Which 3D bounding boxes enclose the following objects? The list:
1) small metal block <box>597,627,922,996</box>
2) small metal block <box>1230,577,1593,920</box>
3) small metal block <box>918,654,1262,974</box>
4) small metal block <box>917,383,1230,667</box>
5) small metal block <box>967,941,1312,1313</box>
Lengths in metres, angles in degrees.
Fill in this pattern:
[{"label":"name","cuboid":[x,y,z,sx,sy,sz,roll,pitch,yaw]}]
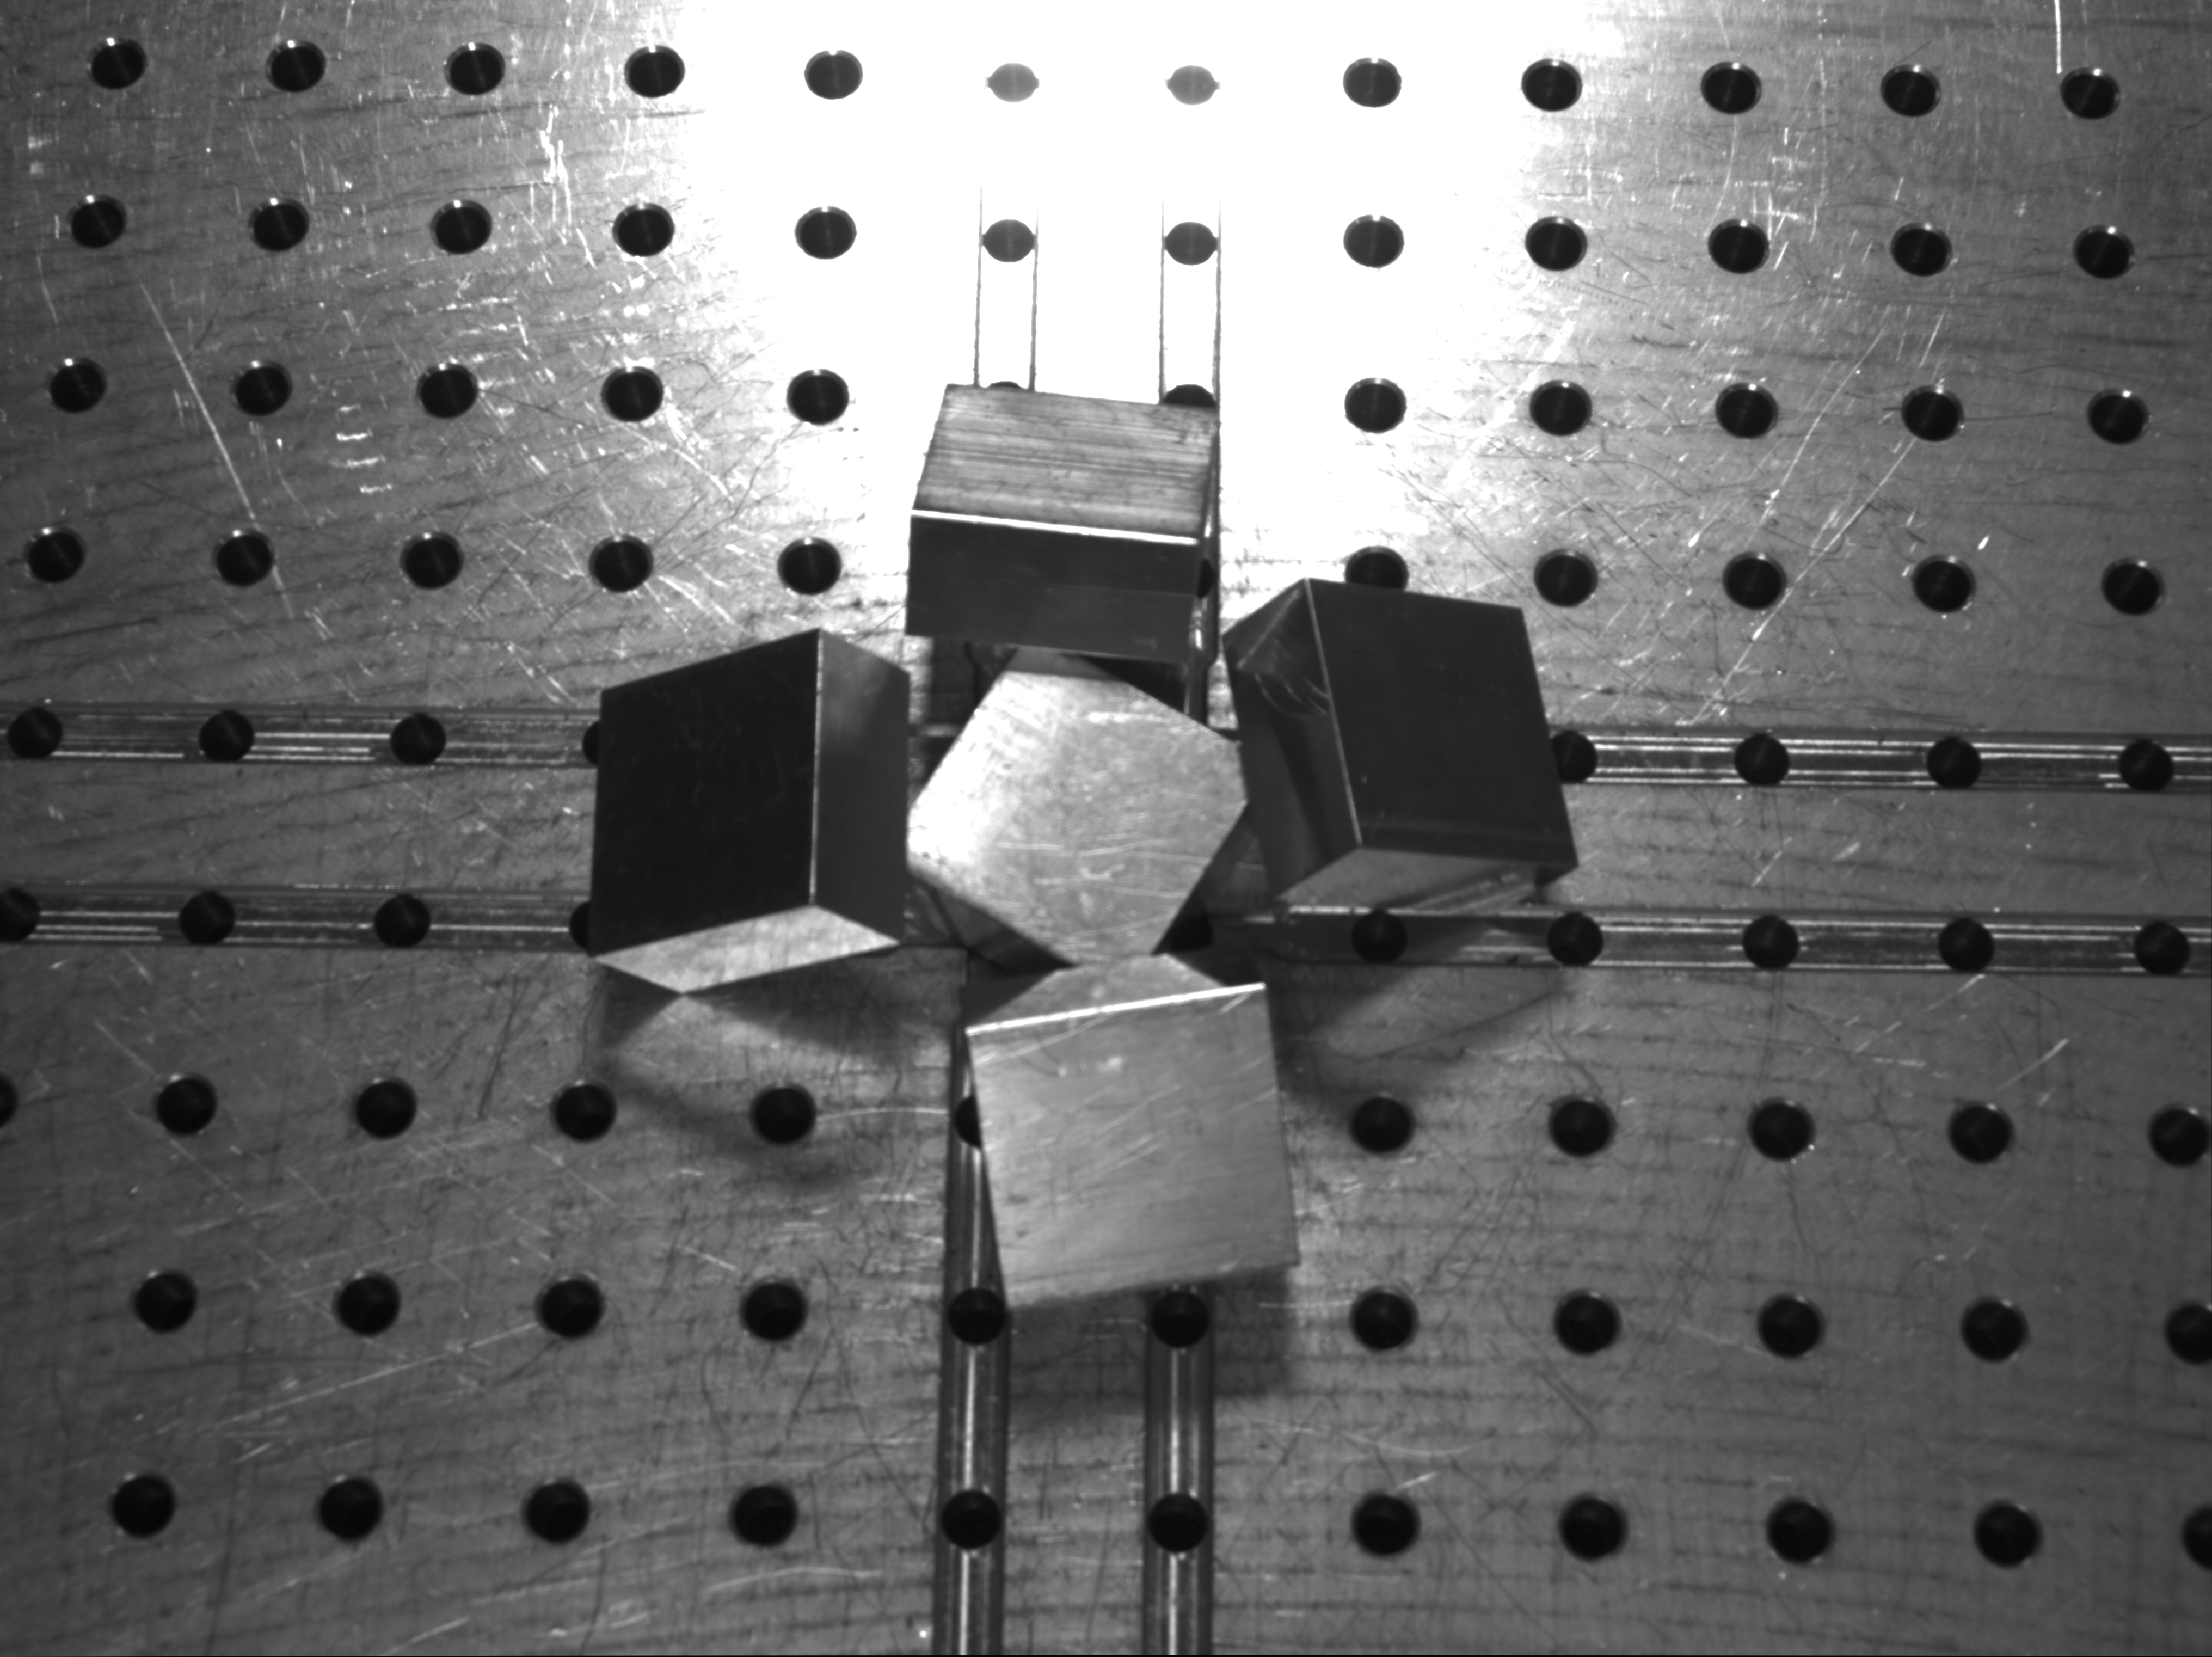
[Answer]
[{"label":"small metal block","cuboid":[-0.060,-0.002,0.636,0.050,0.025,0.050,-14,66,32]},{"label":"small metal block","cuboid":[0.053,-0.013,0.640,0.050,0.025,0.050,5,65,-36]},{"label":"small metal block","cuboid":[-0.003,0.001,0.647,0.050,0.025,0.050,30,73,10]},{"label":"small metal block","cuboid":[-0.005,-0.055,0.654,0.050,0.025,0.050,6,34,3]},{"label":"small metal block","cuboid":[0.005,0.050,0.616,0.050,0.025,0.050,-8,106,-3]}]
